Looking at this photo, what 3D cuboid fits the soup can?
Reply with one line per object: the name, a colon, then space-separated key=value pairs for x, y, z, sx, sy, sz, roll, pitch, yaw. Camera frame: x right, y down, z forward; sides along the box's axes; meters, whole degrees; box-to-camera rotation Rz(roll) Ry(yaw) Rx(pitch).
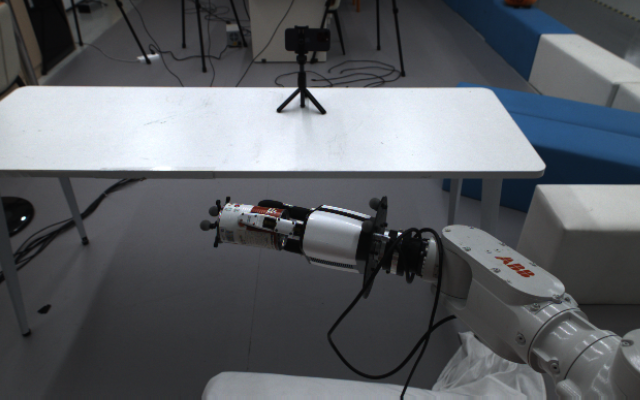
soup can: x=-0.105 y=0.044 z=0.782 sx=0.101 sy=0.067 sz=0.067 roll=6 pitch=35 yaw=11
